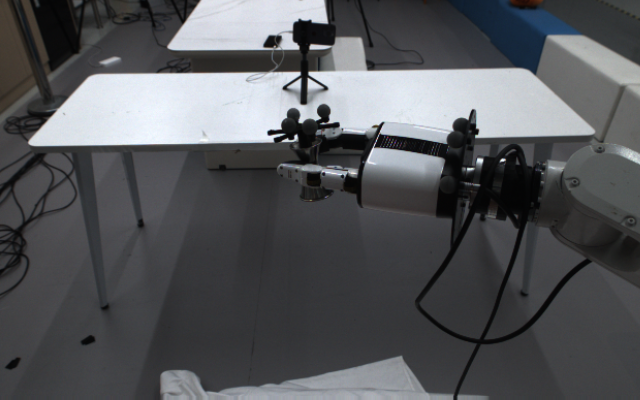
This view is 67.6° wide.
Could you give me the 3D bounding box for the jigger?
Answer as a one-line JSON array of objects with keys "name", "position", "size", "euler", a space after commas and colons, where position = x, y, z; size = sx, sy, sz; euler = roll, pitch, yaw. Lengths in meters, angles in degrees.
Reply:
[{"name": "jigger", "position": [-0.012, -0.041, 0.596], "size": [0.043, 0.071, 0.043], "euler": [-11, 23, 5]}]
